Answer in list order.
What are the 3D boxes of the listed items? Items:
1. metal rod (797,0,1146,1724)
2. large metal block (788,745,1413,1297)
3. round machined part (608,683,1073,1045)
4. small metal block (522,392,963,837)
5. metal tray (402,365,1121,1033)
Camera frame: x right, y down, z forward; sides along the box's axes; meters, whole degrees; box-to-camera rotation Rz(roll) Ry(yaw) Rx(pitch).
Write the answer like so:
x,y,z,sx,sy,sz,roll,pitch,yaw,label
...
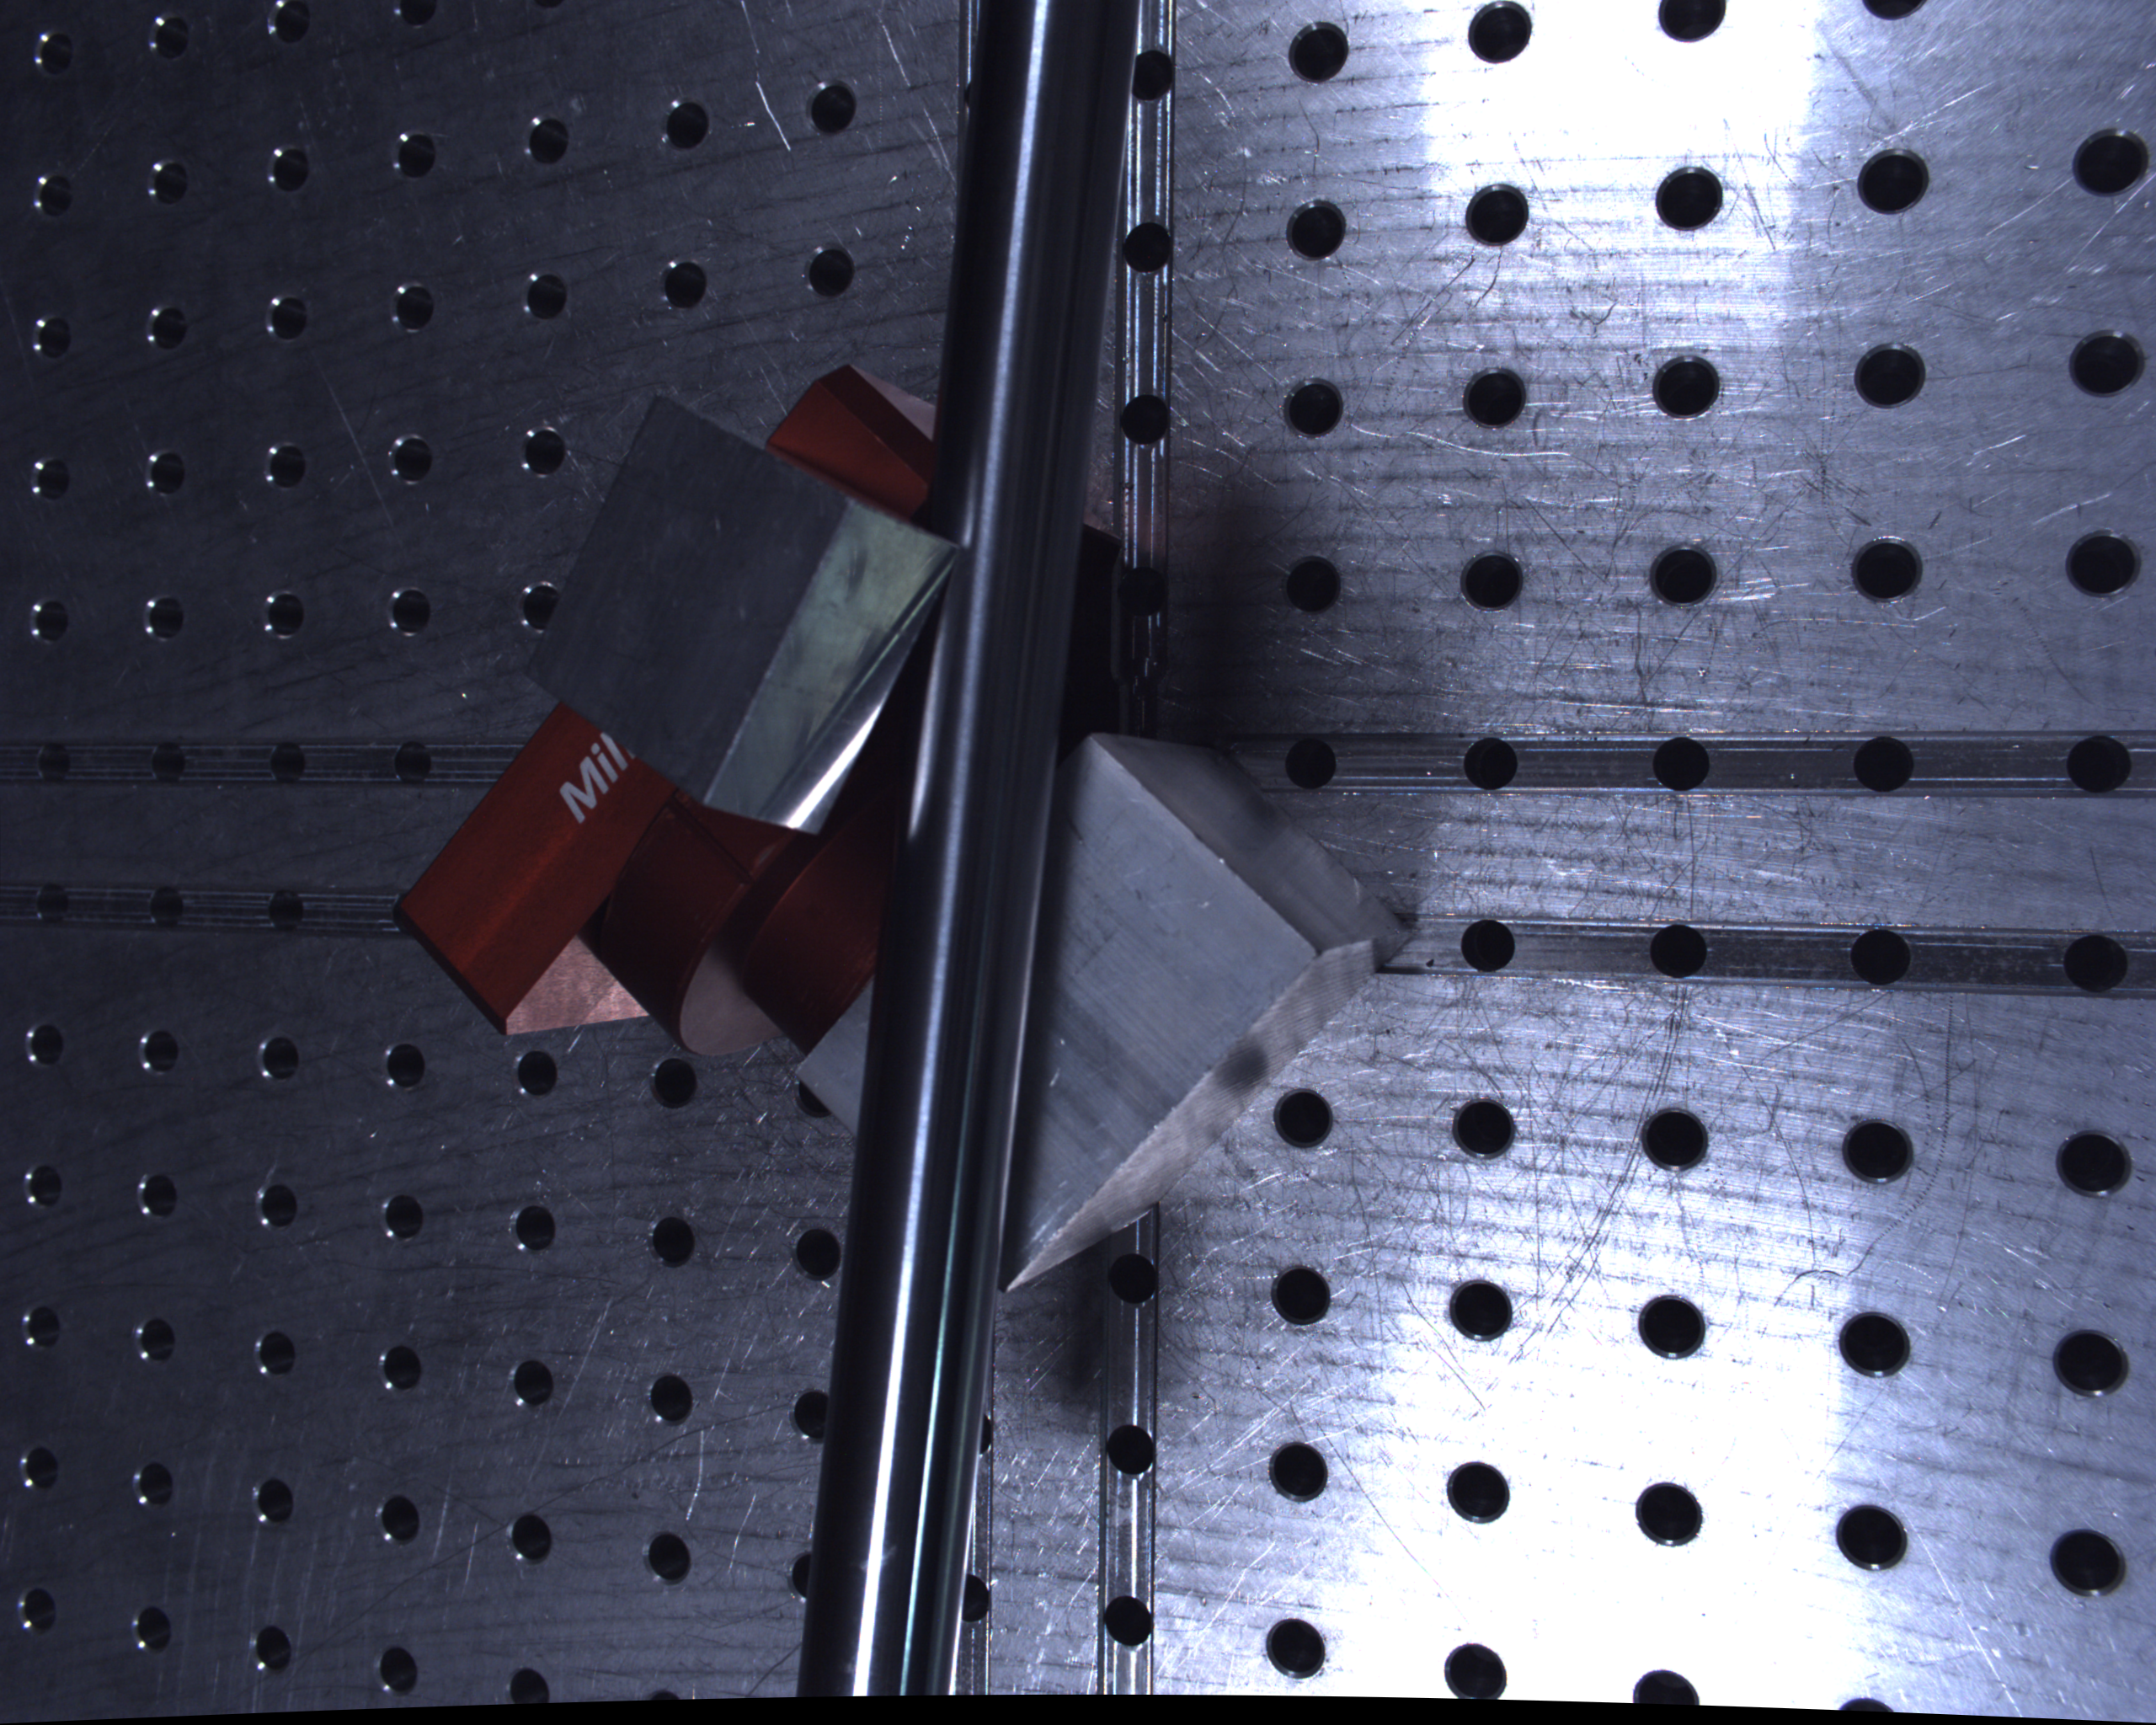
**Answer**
x,y,z,sx,sy,sz,roll,pitch,yaw,label
-0.018,0.011,0.333,0.025,0.025,0.298,7,92,19,metal rod
0.007,0.027,0.377,0.050,0.080,0.080,45,104,14,large metal block
-0.035,-0.001,0.389,0.042,0.098,0.098,44,103,14,round machined part
-0.053,-0.039,0.326,0.050,0.025,0.050,33,99,36,small metal block
-0.057,-0.027,0.397,0.030,0.090,0.130,45,104,14,metal tray
